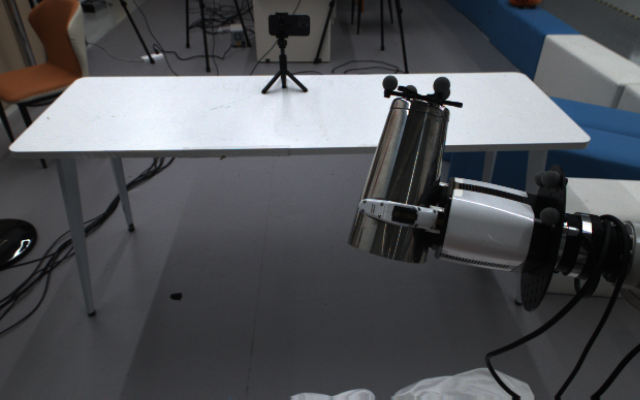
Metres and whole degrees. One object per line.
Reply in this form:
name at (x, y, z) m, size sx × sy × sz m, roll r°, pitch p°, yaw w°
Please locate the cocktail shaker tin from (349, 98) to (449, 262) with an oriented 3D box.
cocktail shaker tin at (0.096, -0.024, 0.551) m, size 0.093 × 0.170 × 0.093 m, roll 13°, pitch 4°, yaw -1°
